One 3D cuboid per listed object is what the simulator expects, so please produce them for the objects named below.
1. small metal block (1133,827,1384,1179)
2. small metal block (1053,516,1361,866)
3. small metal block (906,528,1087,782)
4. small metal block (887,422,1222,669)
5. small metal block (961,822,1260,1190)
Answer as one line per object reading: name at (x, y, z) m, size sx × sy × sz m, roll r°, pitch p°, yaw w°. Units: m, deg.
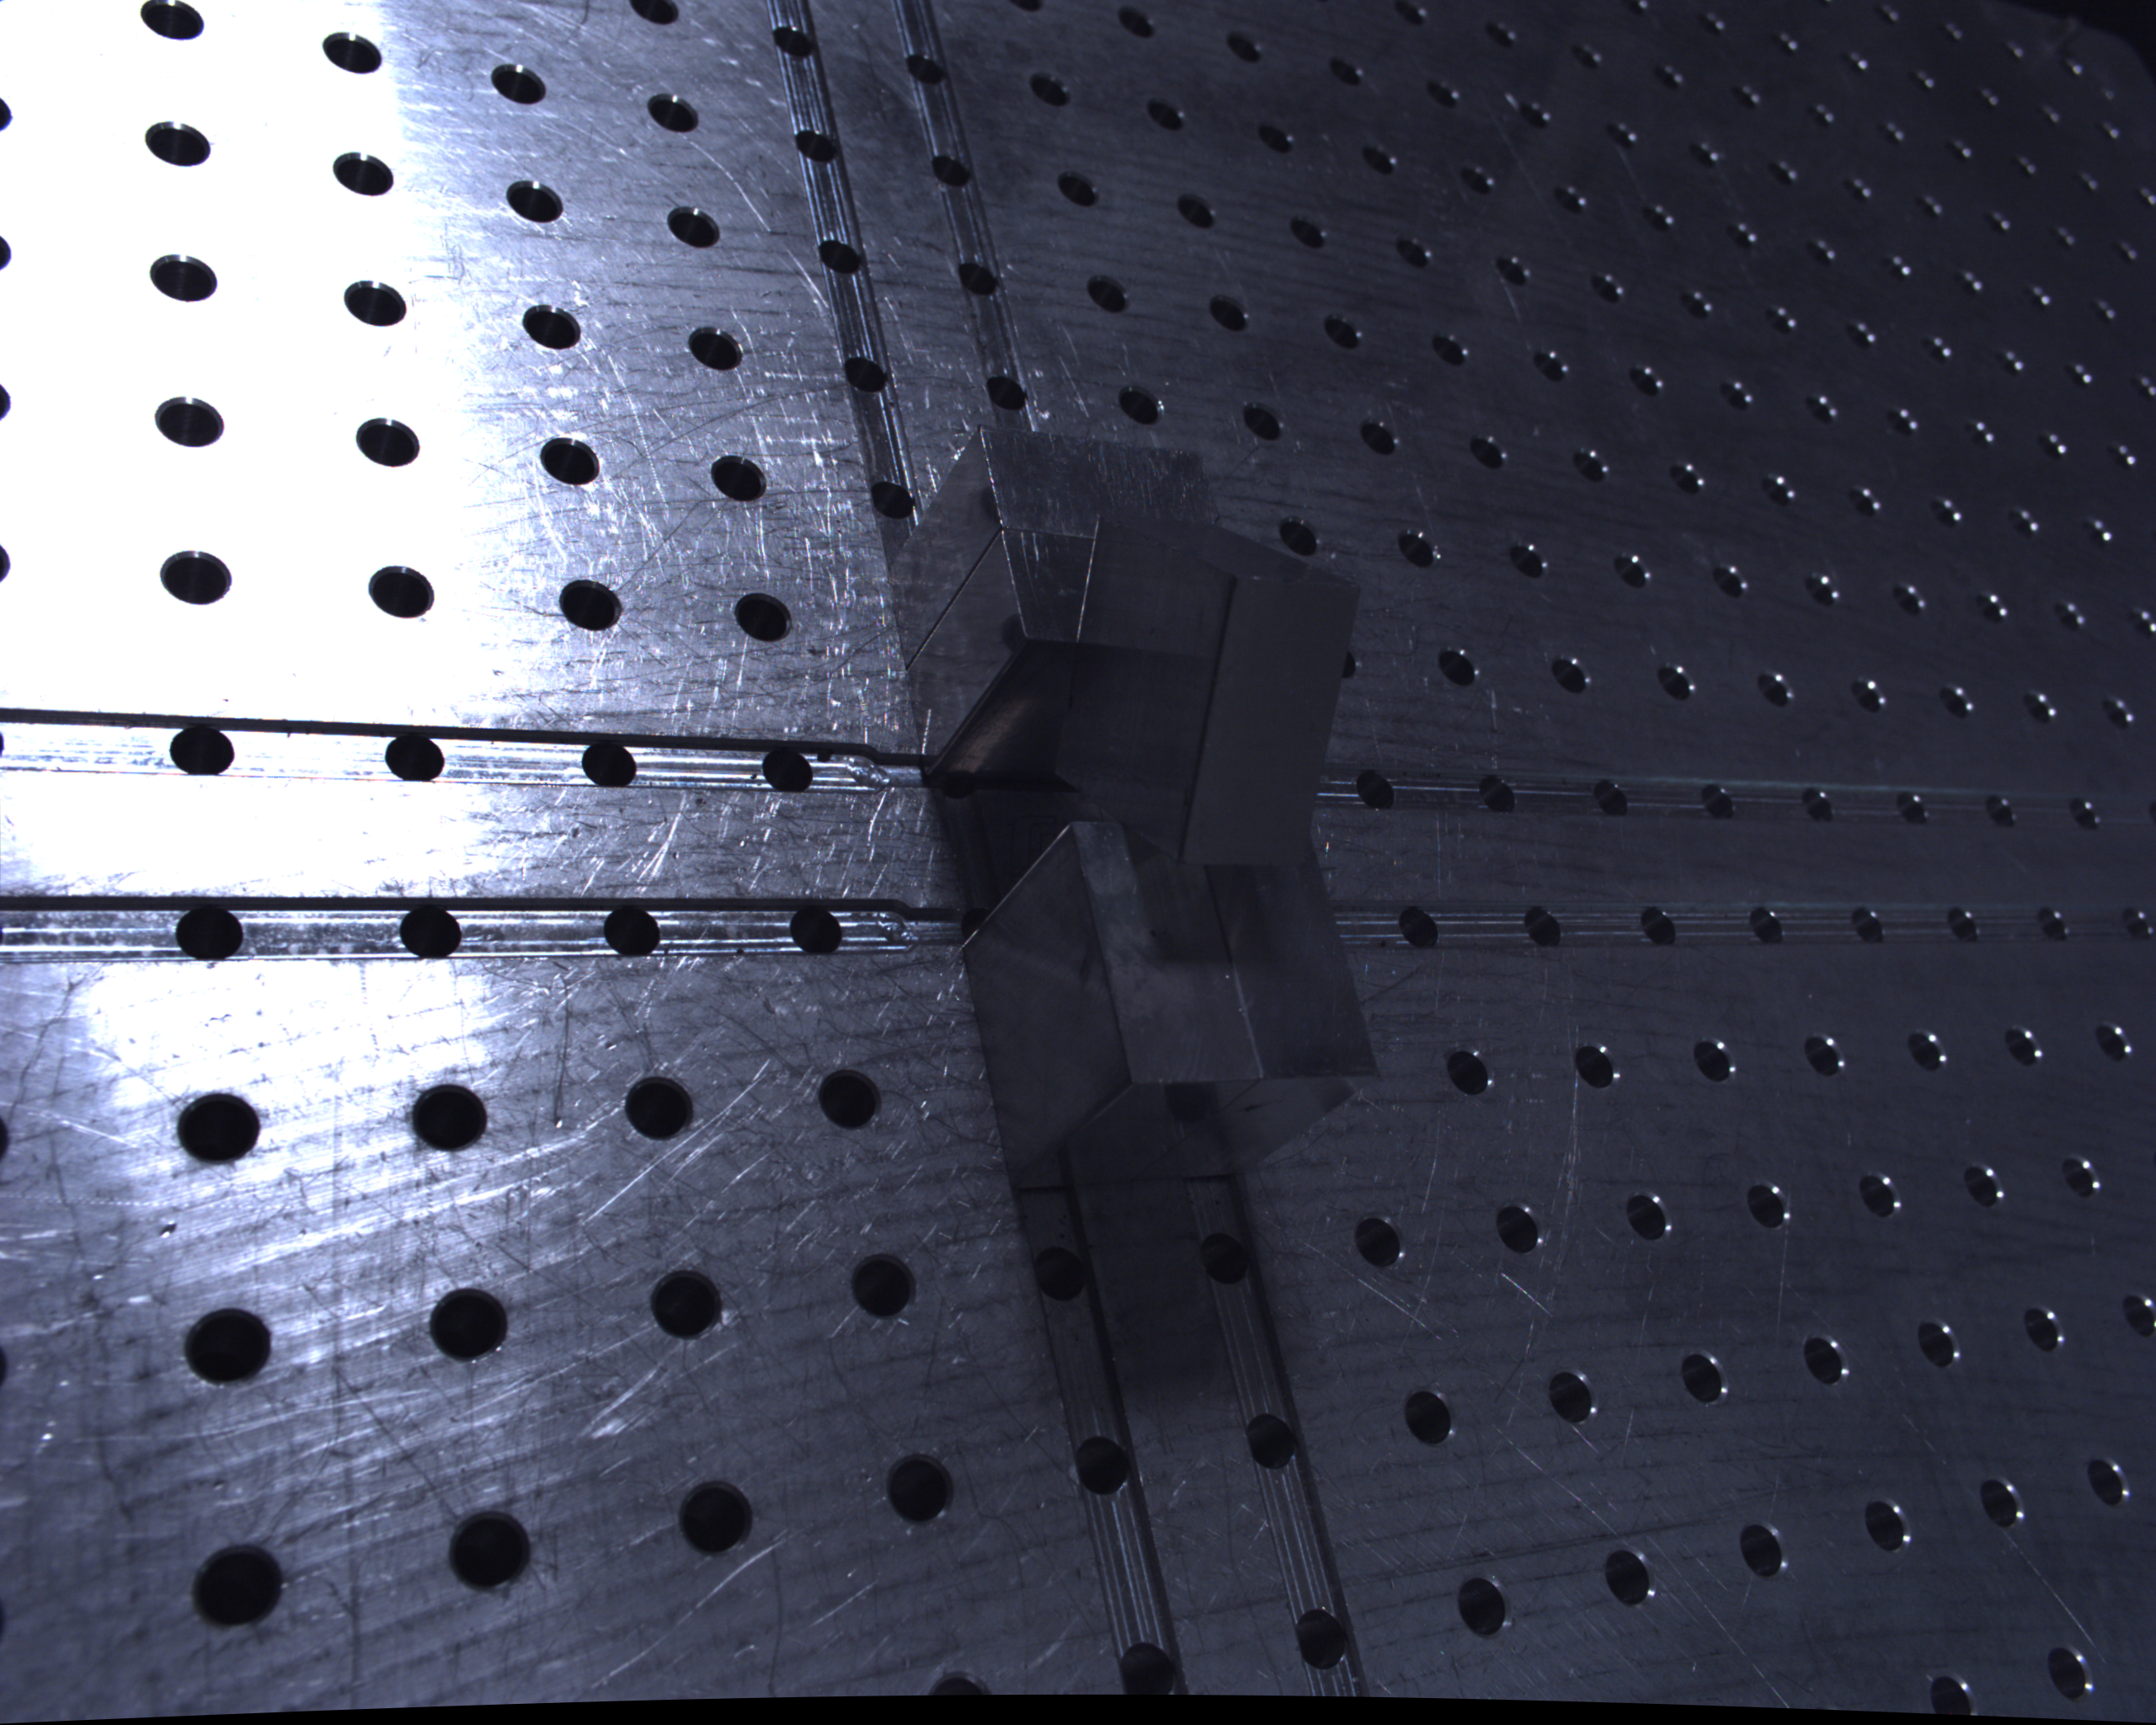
small metal block at (0.027, 0.026, 0.391) m, size 0.025 × 0.050 × 0.050 m, roll 1°, pitch 61°, yaw -28°
small metal block at (0.021, -0.031, 0.371) m, size 0.025 × 0.050 × 0.050 m, roll 0°, pitch 19°, yaw -28°
small metal block at (0.000, -0.039, 0.417) m, size 0.050 × 0.050 × 0.025 m, roll 2°, pitch 61°, yaw -28°
small metal block at (-0.005, -0.062, 0.428) m, size 0.050 × 0.050 × 0.025 m, roll 2°, pitch 61°, yaw -28°
small metal block at (0.004, 0.027, 0.379) m, size 0.025 × 0.050 × 0.050 m, roll 1°, pitch 61°, yaw -28°
